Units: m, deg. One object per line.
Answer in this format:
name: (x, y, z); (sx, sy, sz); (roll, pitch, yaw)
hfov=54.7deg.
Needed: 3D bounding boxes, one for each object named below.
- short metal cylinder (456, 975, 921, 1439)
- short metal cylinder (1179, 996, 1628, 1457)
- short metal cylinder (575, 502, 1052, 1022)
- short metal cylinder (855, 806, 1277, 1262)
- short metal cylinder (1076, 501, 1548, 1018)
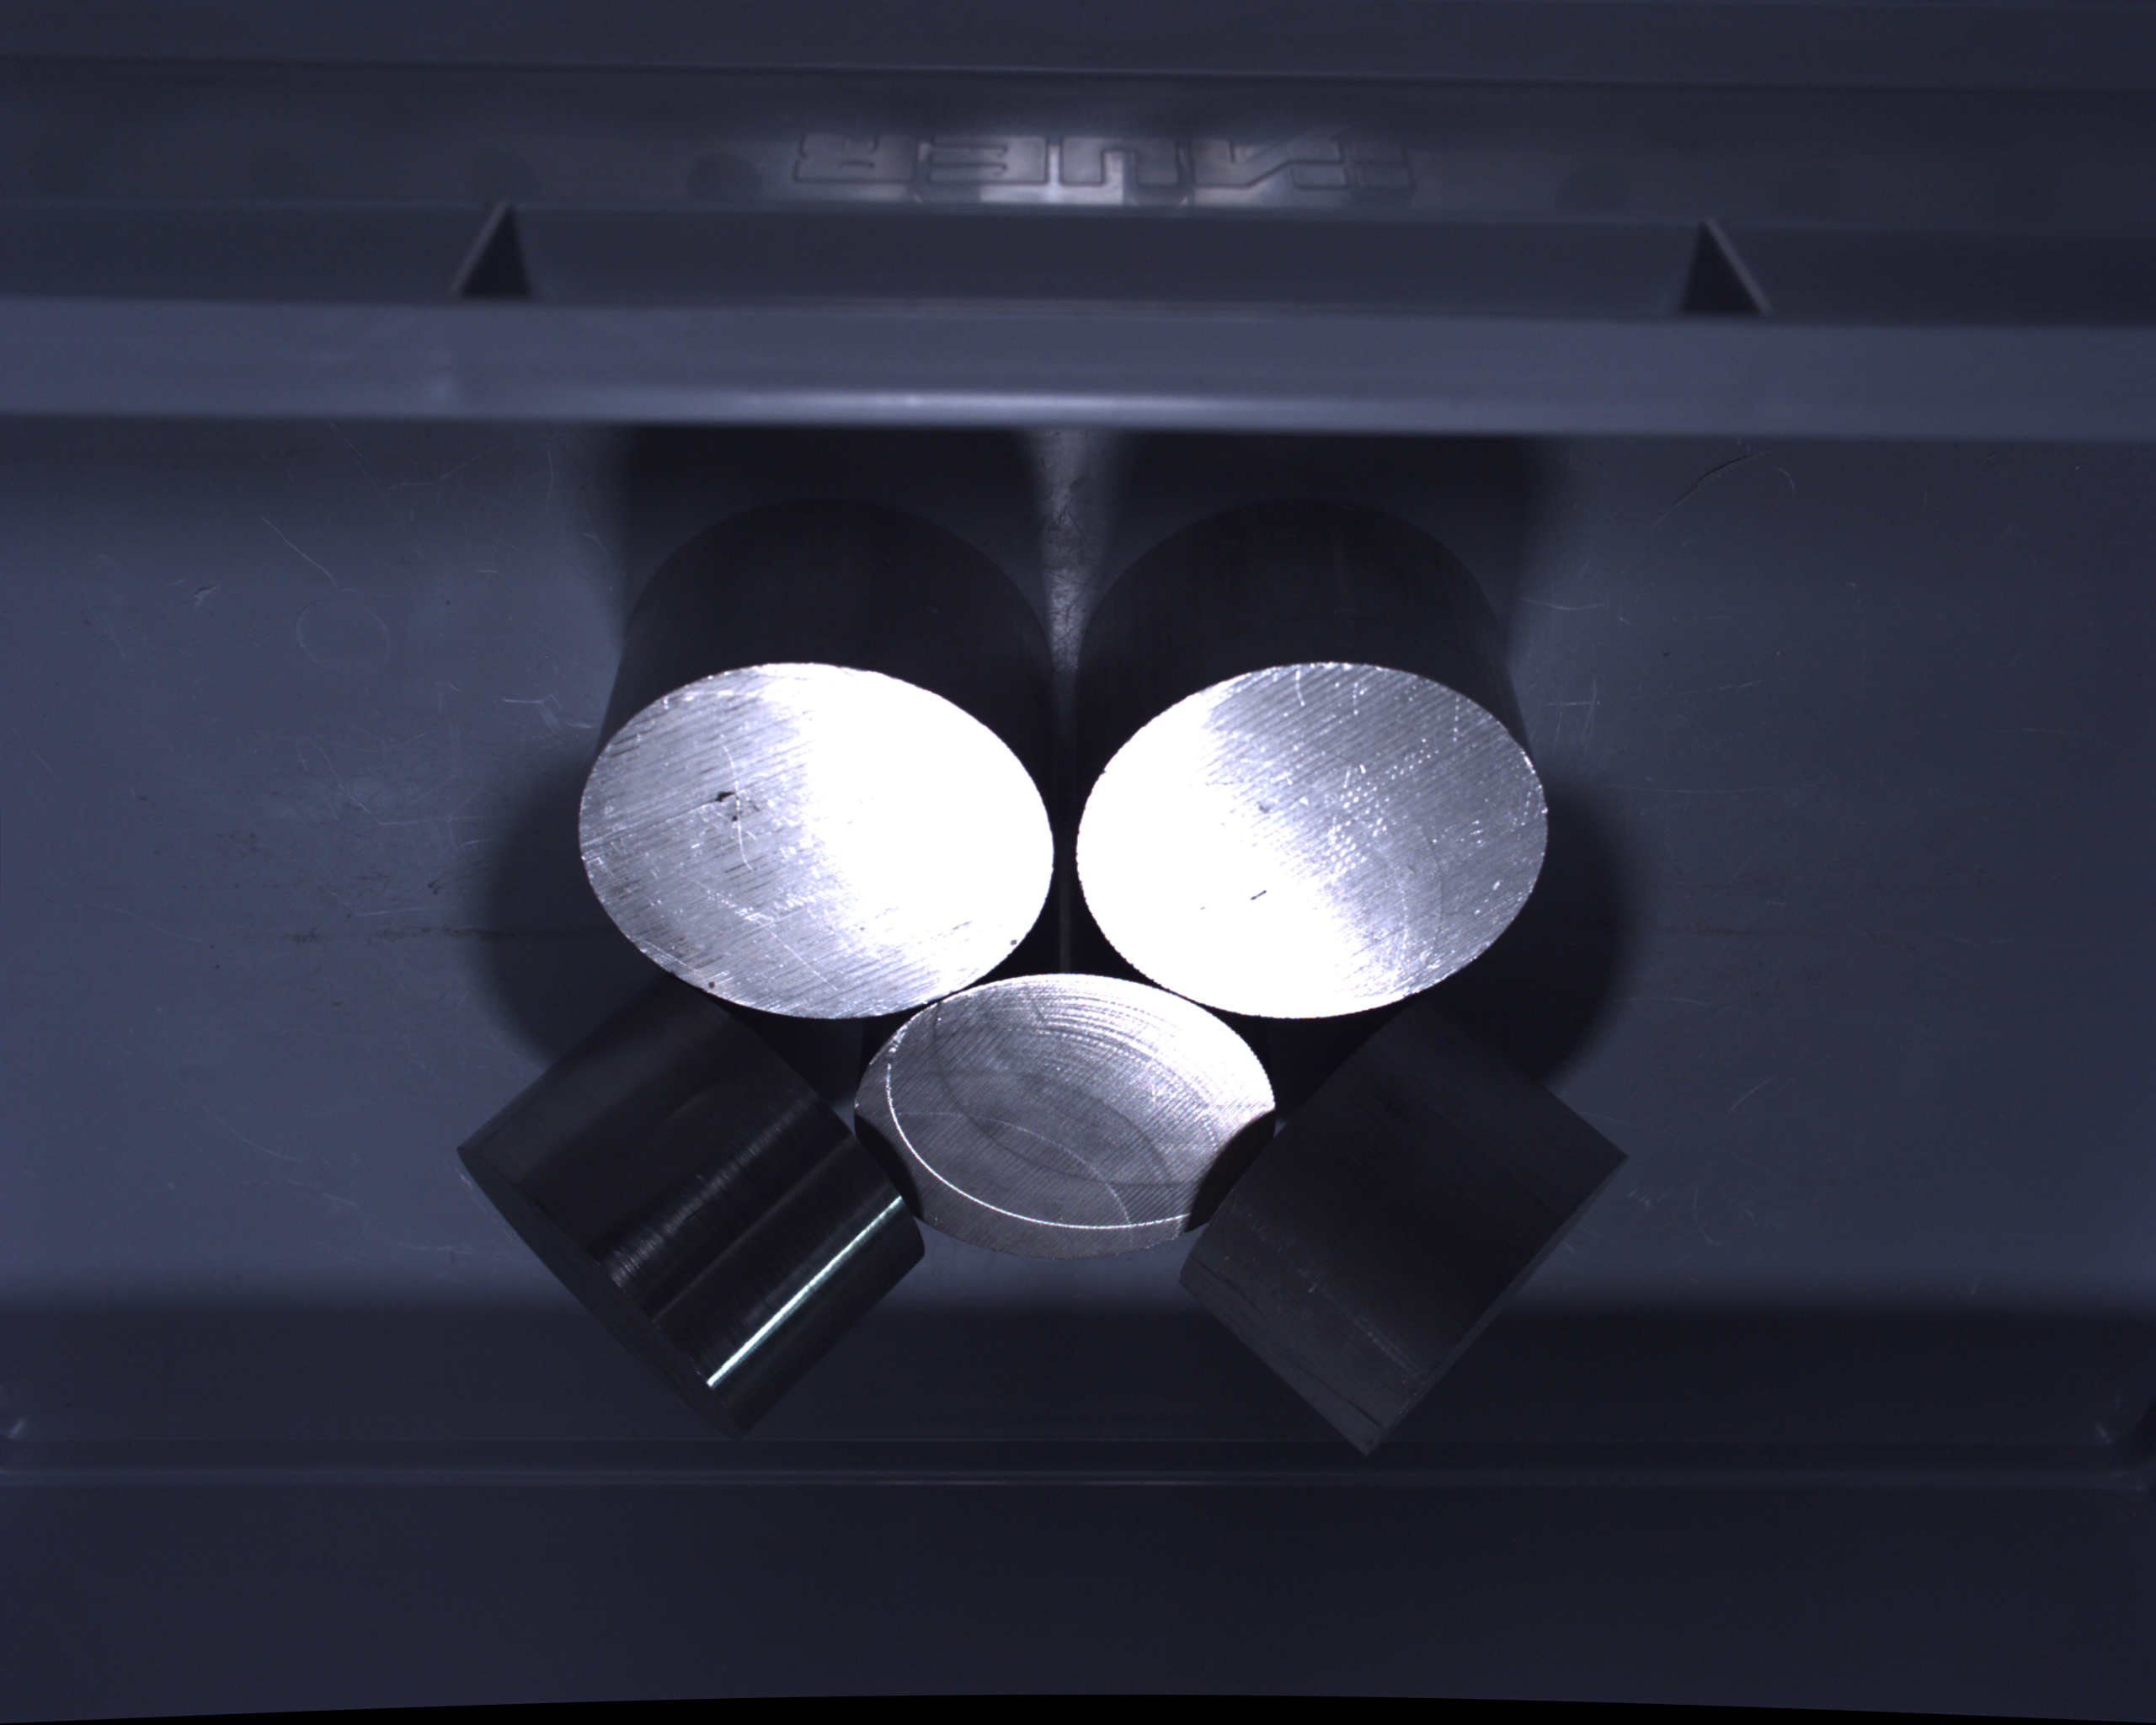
short metal cylinder: (-0.078, 0.069, 0.421); (0.050, 0.080, 0.080); (-44, 132, -22)
short metal cylinder: (0.066, 0.074, 0.427); (0.050, 0.081, 0.079); (40, 129, 18)
short metal cylinder: (-0.045, -0.017, 0.374); (0.081, 0.050, 0.079); (0, 130, 0)
short metal cylinder: (-0.002, 0.035, 0.418); (0.081, 0.050, 0.079); (0, 130, 0)
short metal cylinder: (0.040, -0.018, 0.376); (0.081, 0.050, 0.079); (0, 130, 0)
